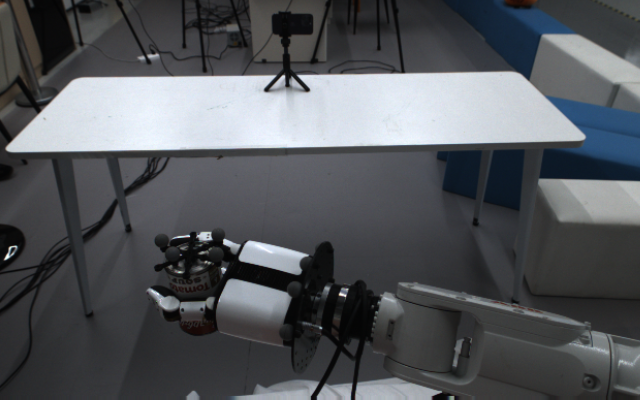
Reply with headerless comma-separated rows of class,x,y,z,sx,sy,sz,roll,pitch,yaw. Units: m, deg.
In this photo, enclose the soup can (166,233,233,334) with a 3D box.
soup can,-0.154,0.113,0.614,0.067,0.101,0.067,-2,32,1
